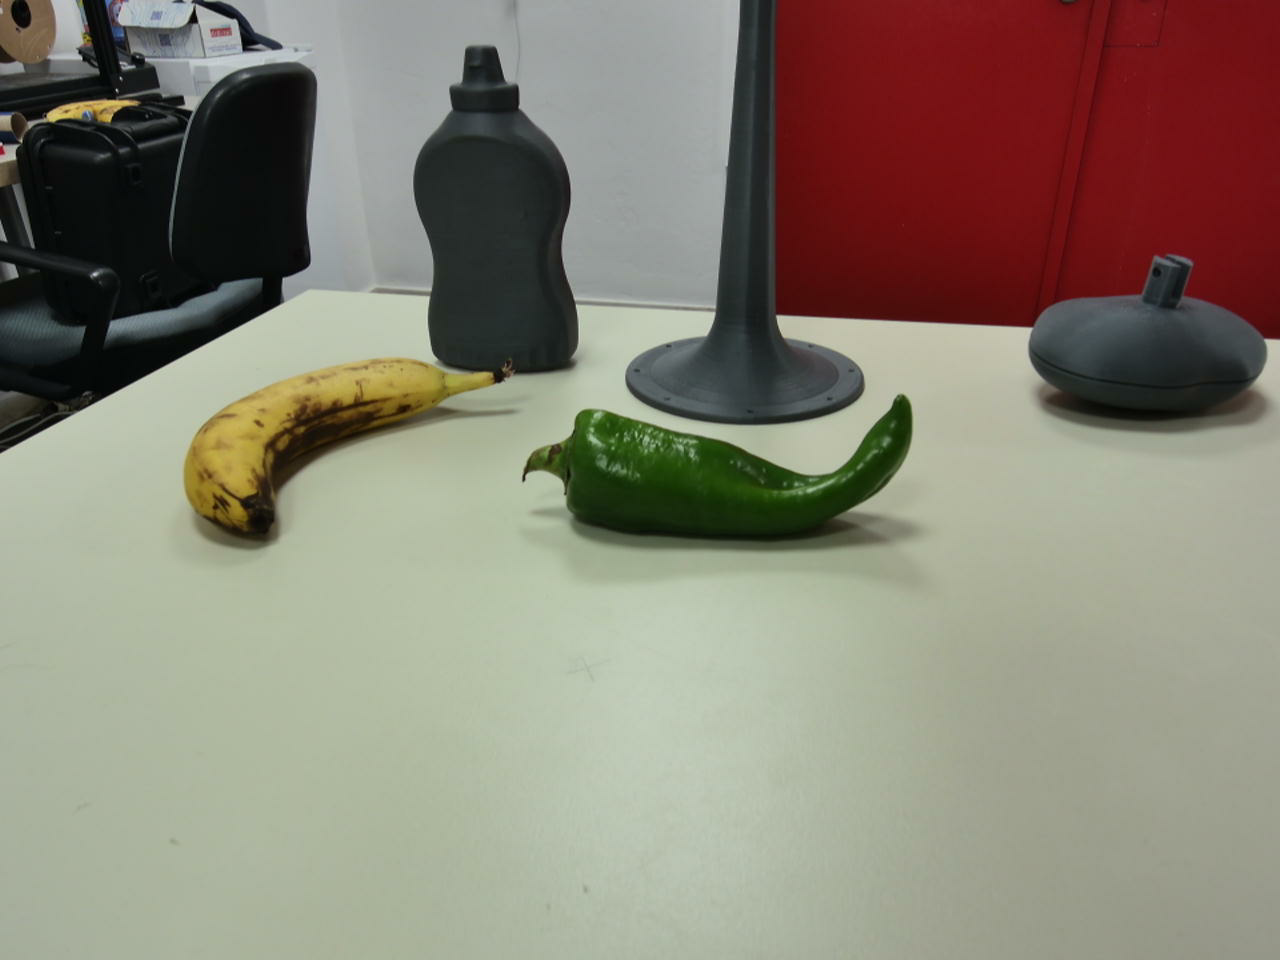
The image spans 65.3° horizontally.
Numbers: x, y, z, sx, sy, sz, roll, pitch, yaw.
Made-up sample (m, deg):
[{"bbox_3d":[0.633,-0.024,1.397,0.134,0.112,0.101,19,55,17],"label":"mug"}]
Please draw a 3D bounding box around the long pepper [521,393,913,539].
[{"bbox_3d":[0.031,-0.009,0.447,0.175,0.065,0.058,4,24,10],"label":"long pepper"}]
